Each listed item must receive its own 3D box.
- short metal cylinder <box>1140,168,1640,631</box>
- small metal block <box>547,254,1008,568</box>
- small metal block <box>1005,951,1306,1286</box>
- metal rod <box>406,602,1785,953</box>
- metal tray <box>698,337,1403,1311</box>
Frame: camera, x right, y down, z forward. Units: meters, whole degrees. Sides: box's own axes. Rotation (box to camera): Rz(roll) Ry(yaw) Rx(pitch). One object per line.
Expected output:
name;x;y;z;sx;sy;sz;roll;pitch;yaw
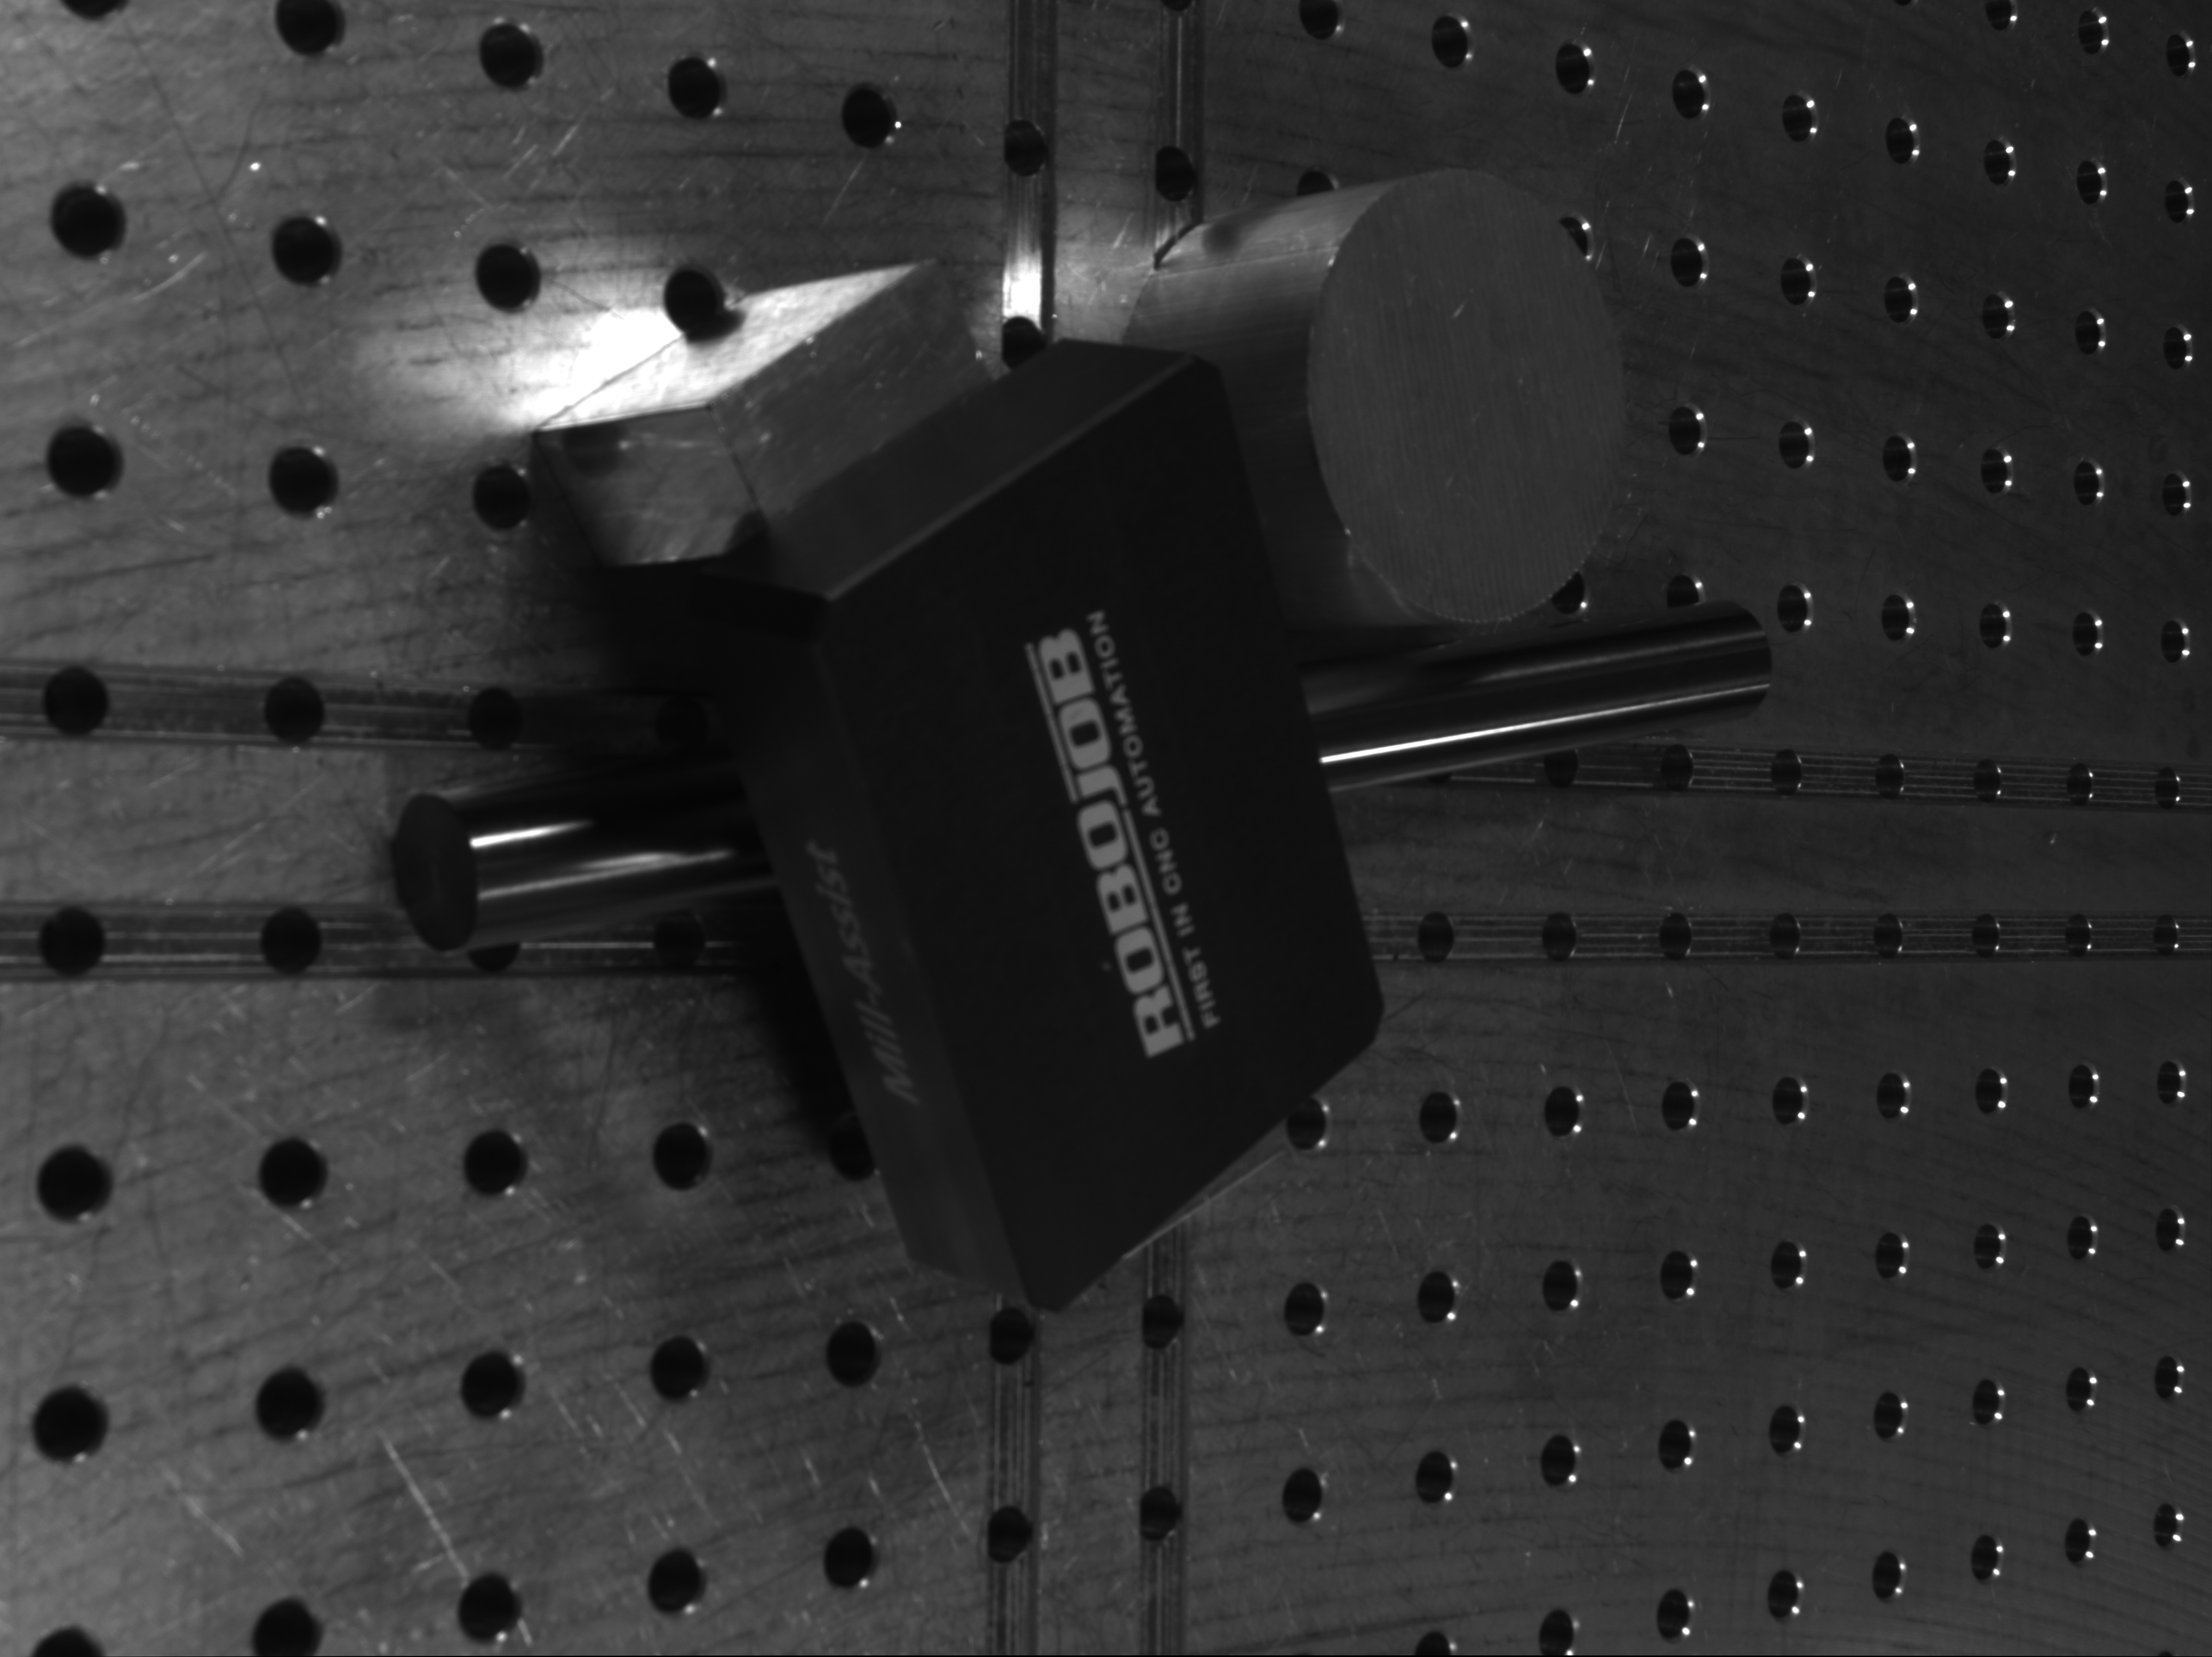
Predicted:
short metal cylinder;0.051;-0.076;0.666;0.080;0.050;0.080;0;90;-40
small metal block;-0.052;-0.066;0.581;0.050;0.050;0.025;-39;113;-33
small metal block;0.002;0.045;0.641;0.050;0.025;0.050;-29;108;-36
metal rod;0.014;-0.014;0.652;0.301;0.025;0.025;-10;96;-39
metal tray;-0.005;-0.001;0.583;0.090;0.030;0.130;-37;124;-33
